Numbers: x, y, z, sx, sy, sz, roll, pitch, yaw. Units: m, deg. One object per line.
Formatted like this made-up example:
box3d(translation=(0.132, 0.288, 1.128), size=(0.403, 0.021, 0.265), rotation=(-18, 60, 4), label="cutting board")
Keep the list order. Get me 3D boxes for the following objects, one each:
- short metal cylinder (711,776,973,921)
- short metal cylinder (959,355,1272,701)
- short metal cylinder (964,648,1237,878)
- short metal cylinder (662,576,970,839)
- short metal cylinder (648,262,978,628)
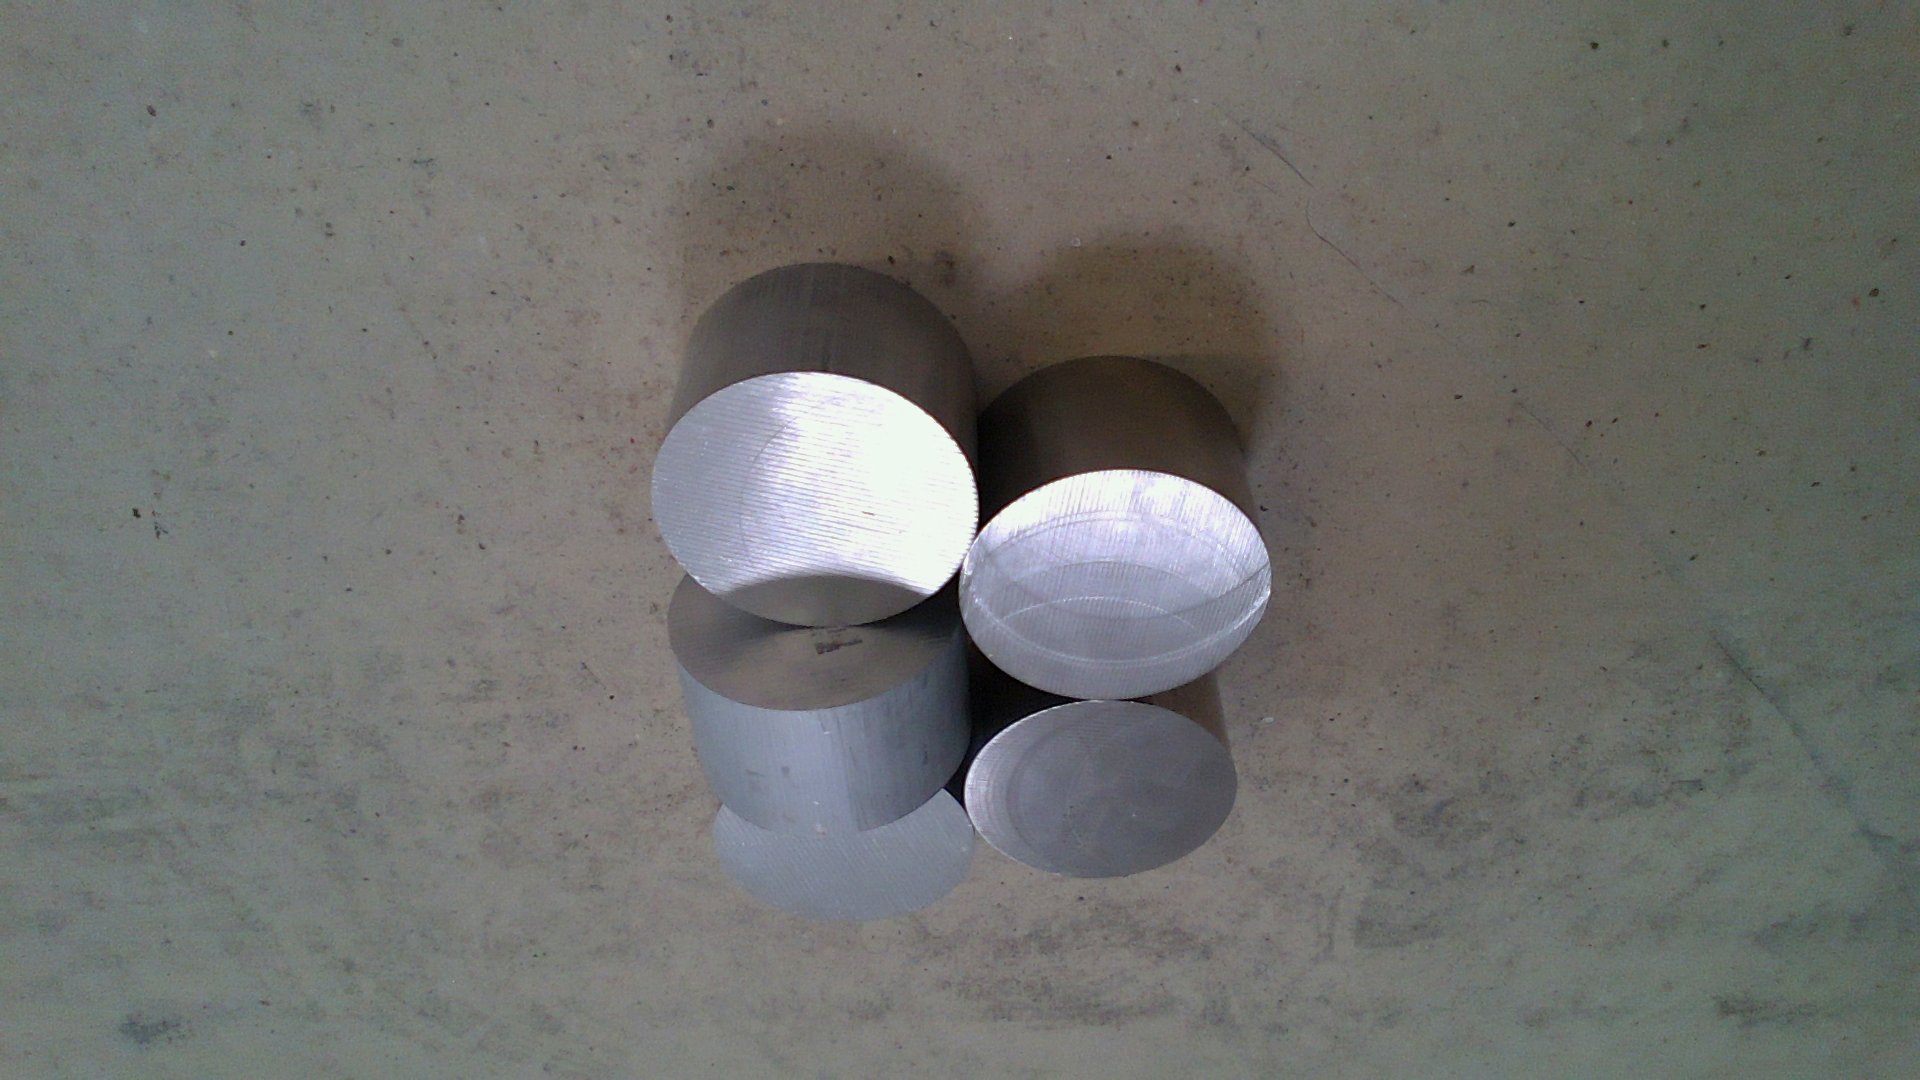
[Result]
box3d(translation=(-0.035, 0.077, 0.439), size=(0.080, 0.050, 0.080), rotation=(0, 130, 1), label="short metal cylinder")
box3d(translation=(0.040, -0.002, 0.372), size=(0.080, 0.050, 0.080), rotation=(0, 131, 0), label="short metal cylinder")
box3d(translation=(0.042, 0.059, 0.424), size=(0.080, 0.050, 0.080), rotation=(0, 131, 1), label="short metal cylinder")
box3d(translation=(-0.038, 0.036, 0.384), size=(0.080, 0.080, 0.050), rotation=(-2, 130, 2), label="short metal cylinder")
box3d(translation=(-0.035, -0.024, 0.354), size=(0.080, 0.050, 0.080), rotation=(0, 130, 1), label="short metal cylinder")
